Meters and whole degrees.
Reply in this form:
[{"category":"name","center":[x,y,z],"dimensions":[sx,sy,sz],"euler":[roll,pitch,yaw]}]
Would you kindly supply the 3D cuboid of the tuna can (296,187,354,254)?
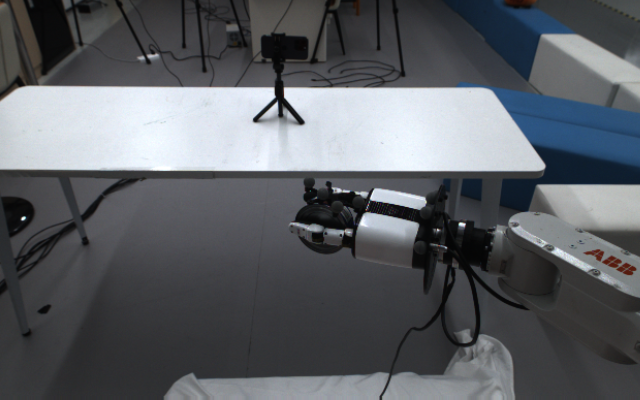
[{"category":"tuna can","center":[0.009,0.036,0.733],"dimensions":[0.085,0.085,0.034],"euler":[16,29,19]}]
